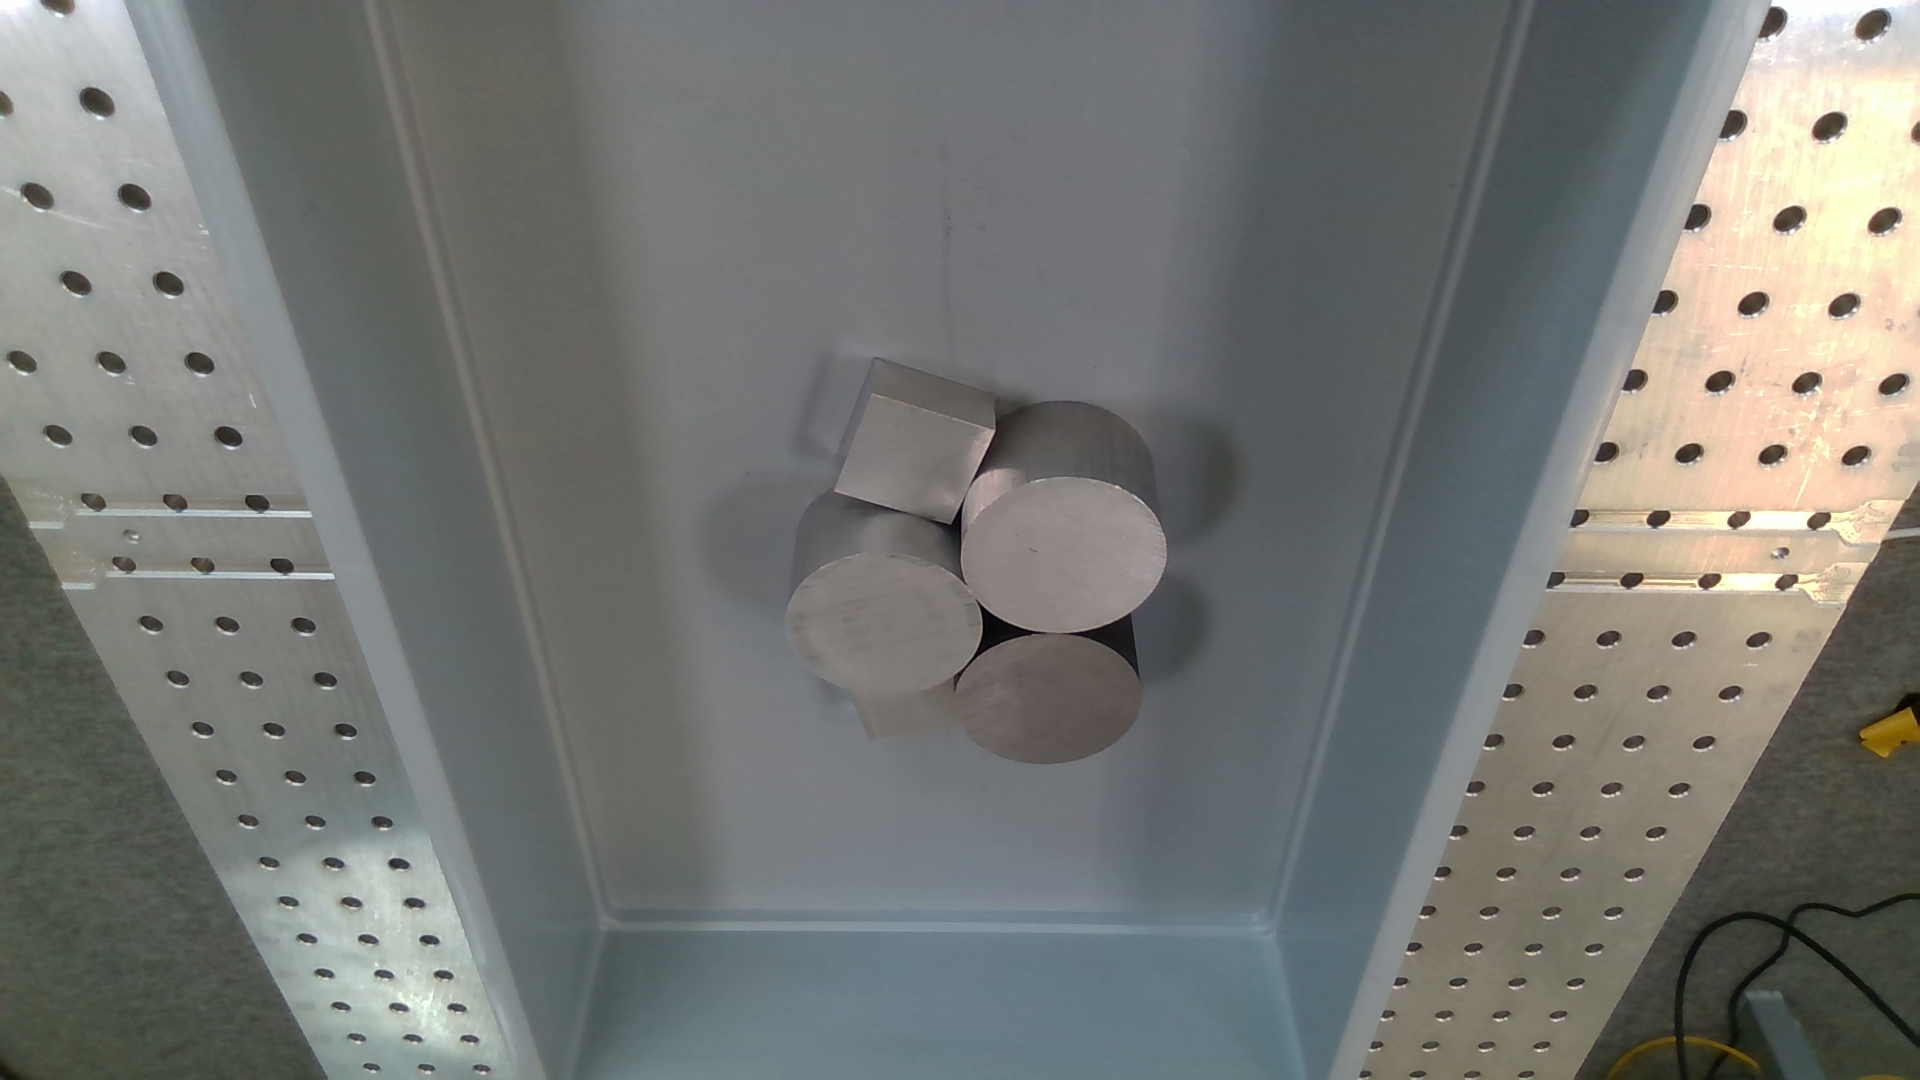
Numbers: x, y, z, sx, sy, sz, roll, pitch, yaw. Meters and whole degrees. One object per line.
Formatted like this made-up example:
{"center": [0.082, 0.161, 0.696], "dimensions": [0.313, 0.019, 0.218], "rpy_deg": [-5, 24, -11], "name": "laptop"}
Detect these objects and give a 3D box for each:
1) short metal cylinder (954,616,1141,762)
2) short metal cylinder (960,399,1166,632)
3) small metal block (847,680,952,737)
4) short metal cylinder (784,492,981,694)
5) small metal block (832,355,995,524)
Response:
{"center": [0.037, 0.052, 0.606], "dimensions": [0.080, 0.050, 0.080], "rpy_deg": [0, 130, 0], "name": "short metal cylinder"}
{"center": [0.040, -0.009, 0.554], "dimensions": [0.080, 0.050, 0.080], "rpy_deg": [0, 130, 0], "name": "short metal cylinder"}
{"center": [-0.025, 0.060, 0.630], "dimensions": [0.050, 0.025, 0.050], "rpy_deg": [-11, 129, 9], "name": "small metal block"}
{"center": [-0.031, 0.019, 0.578], "dimensions": [0.080, 0.050, 0.080], "rpy_deg": [0, 130, 0], "name": "short metal cylinder"}
{"center": [-0.019, -0.039, 0.546], "dimensions": [0.050, 0.025, 0.050], "rpy_deg": [16, 128, -13], "name": "small metal block"}
